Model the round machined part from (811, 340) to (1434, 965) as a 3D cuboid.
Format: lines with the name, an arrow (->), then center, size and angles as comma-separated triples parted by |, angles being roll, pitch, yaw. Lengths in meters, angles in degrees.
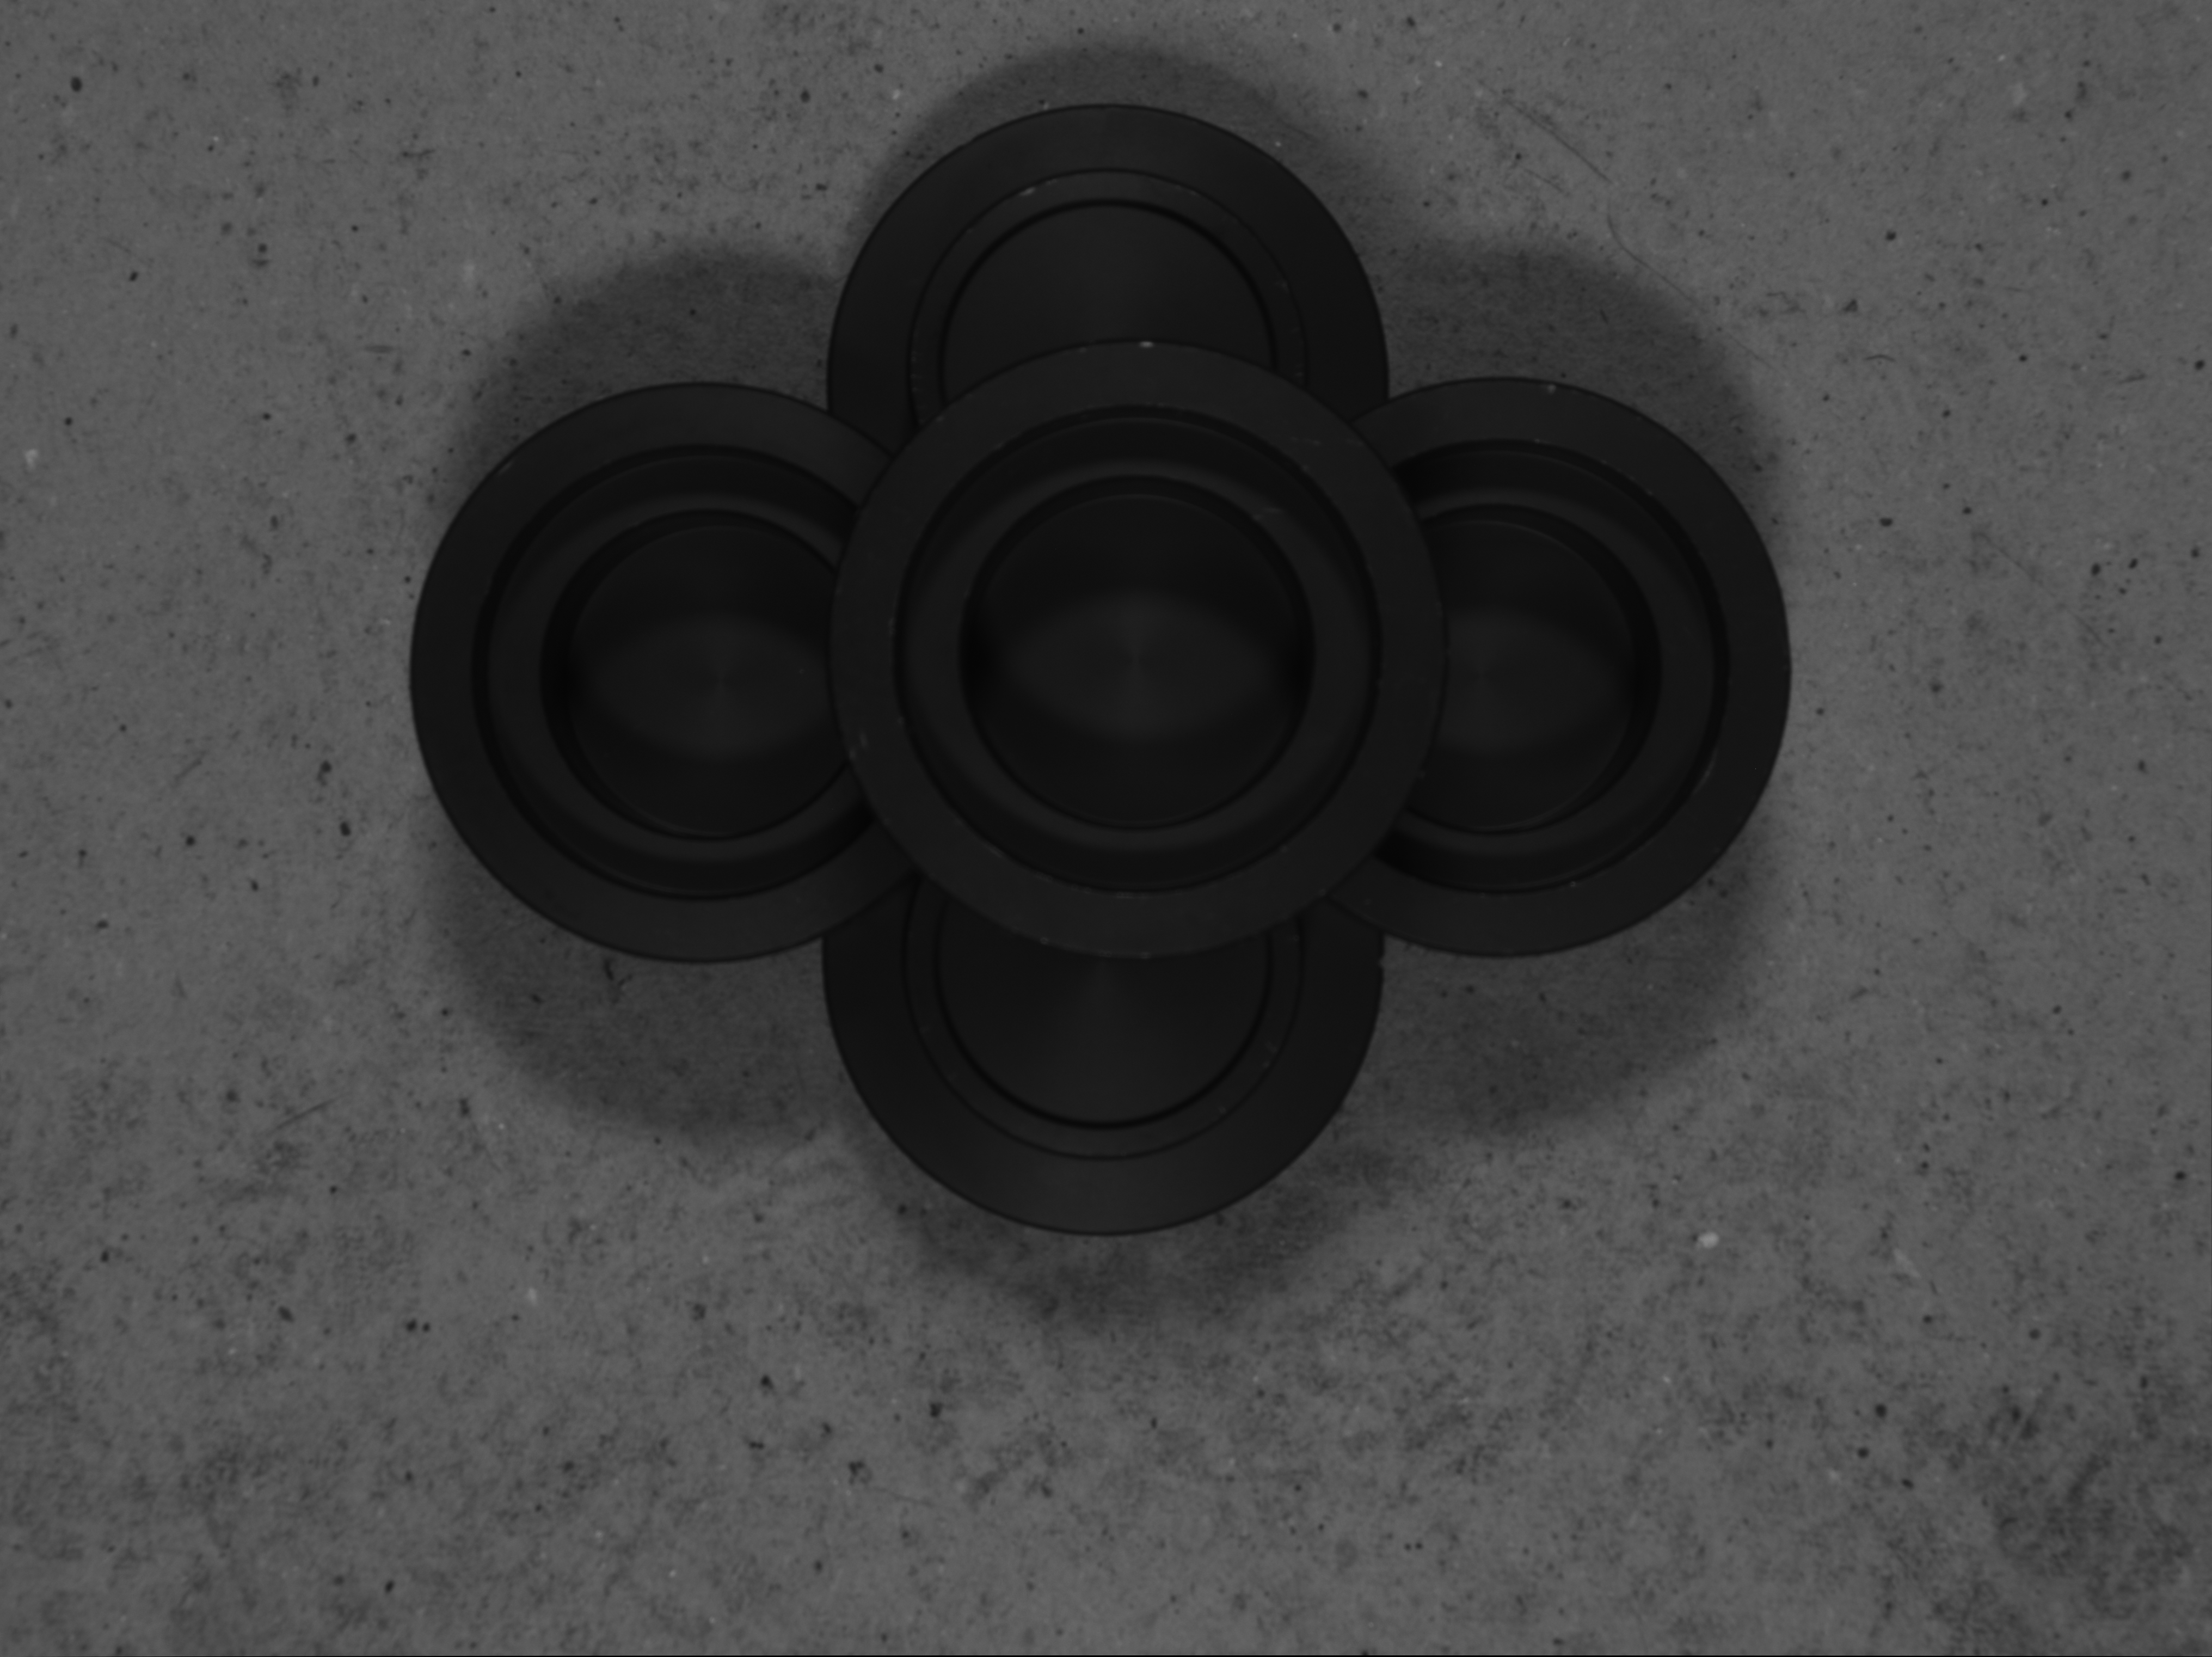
round machined part -> 0.003, -0.028, 0.594 | 0.098, 0.042, 0.098 | 0, 90, 0

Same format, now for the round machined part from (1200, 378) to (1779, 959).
round machined part -> 0.065, -0.027, 0.637 | 0.098, 0.042, 0.098 | 0, 90, 0

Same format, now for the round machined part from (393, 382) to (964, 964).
round machined part -> -0.071, -0.026, 0.636 | 0.098, 0.042, 0.098 | 0, 90, 0

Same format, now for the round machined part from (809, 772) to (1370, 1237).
round machined part -> -0.003, 0.022, 0.636 | 0.098, 0.042, 0.098 | 0, 90, 0

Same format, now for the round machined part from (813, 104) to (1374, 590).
round machined part -> -0.002, -0.077, 0.637 | 0.098, 0.042, 0.098 | 0, 90, 0
